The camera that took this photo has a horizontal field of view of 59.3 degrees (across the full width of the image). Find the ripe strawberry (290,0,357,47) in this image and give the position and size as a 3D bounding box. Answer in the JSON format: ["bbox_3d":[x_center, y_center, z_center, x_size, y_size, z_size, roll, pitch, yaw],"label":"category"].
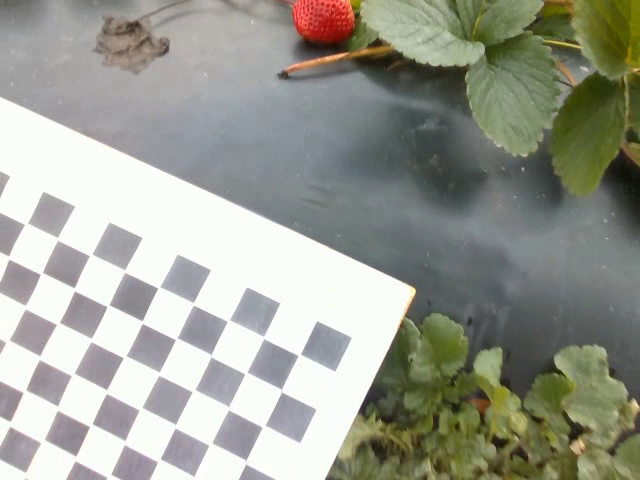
[{"bbox_3d":[-0.004,-0.209,0.503,0.061,0.065,0.050,36,-5,4],"label":"ripe strawberry"}]
